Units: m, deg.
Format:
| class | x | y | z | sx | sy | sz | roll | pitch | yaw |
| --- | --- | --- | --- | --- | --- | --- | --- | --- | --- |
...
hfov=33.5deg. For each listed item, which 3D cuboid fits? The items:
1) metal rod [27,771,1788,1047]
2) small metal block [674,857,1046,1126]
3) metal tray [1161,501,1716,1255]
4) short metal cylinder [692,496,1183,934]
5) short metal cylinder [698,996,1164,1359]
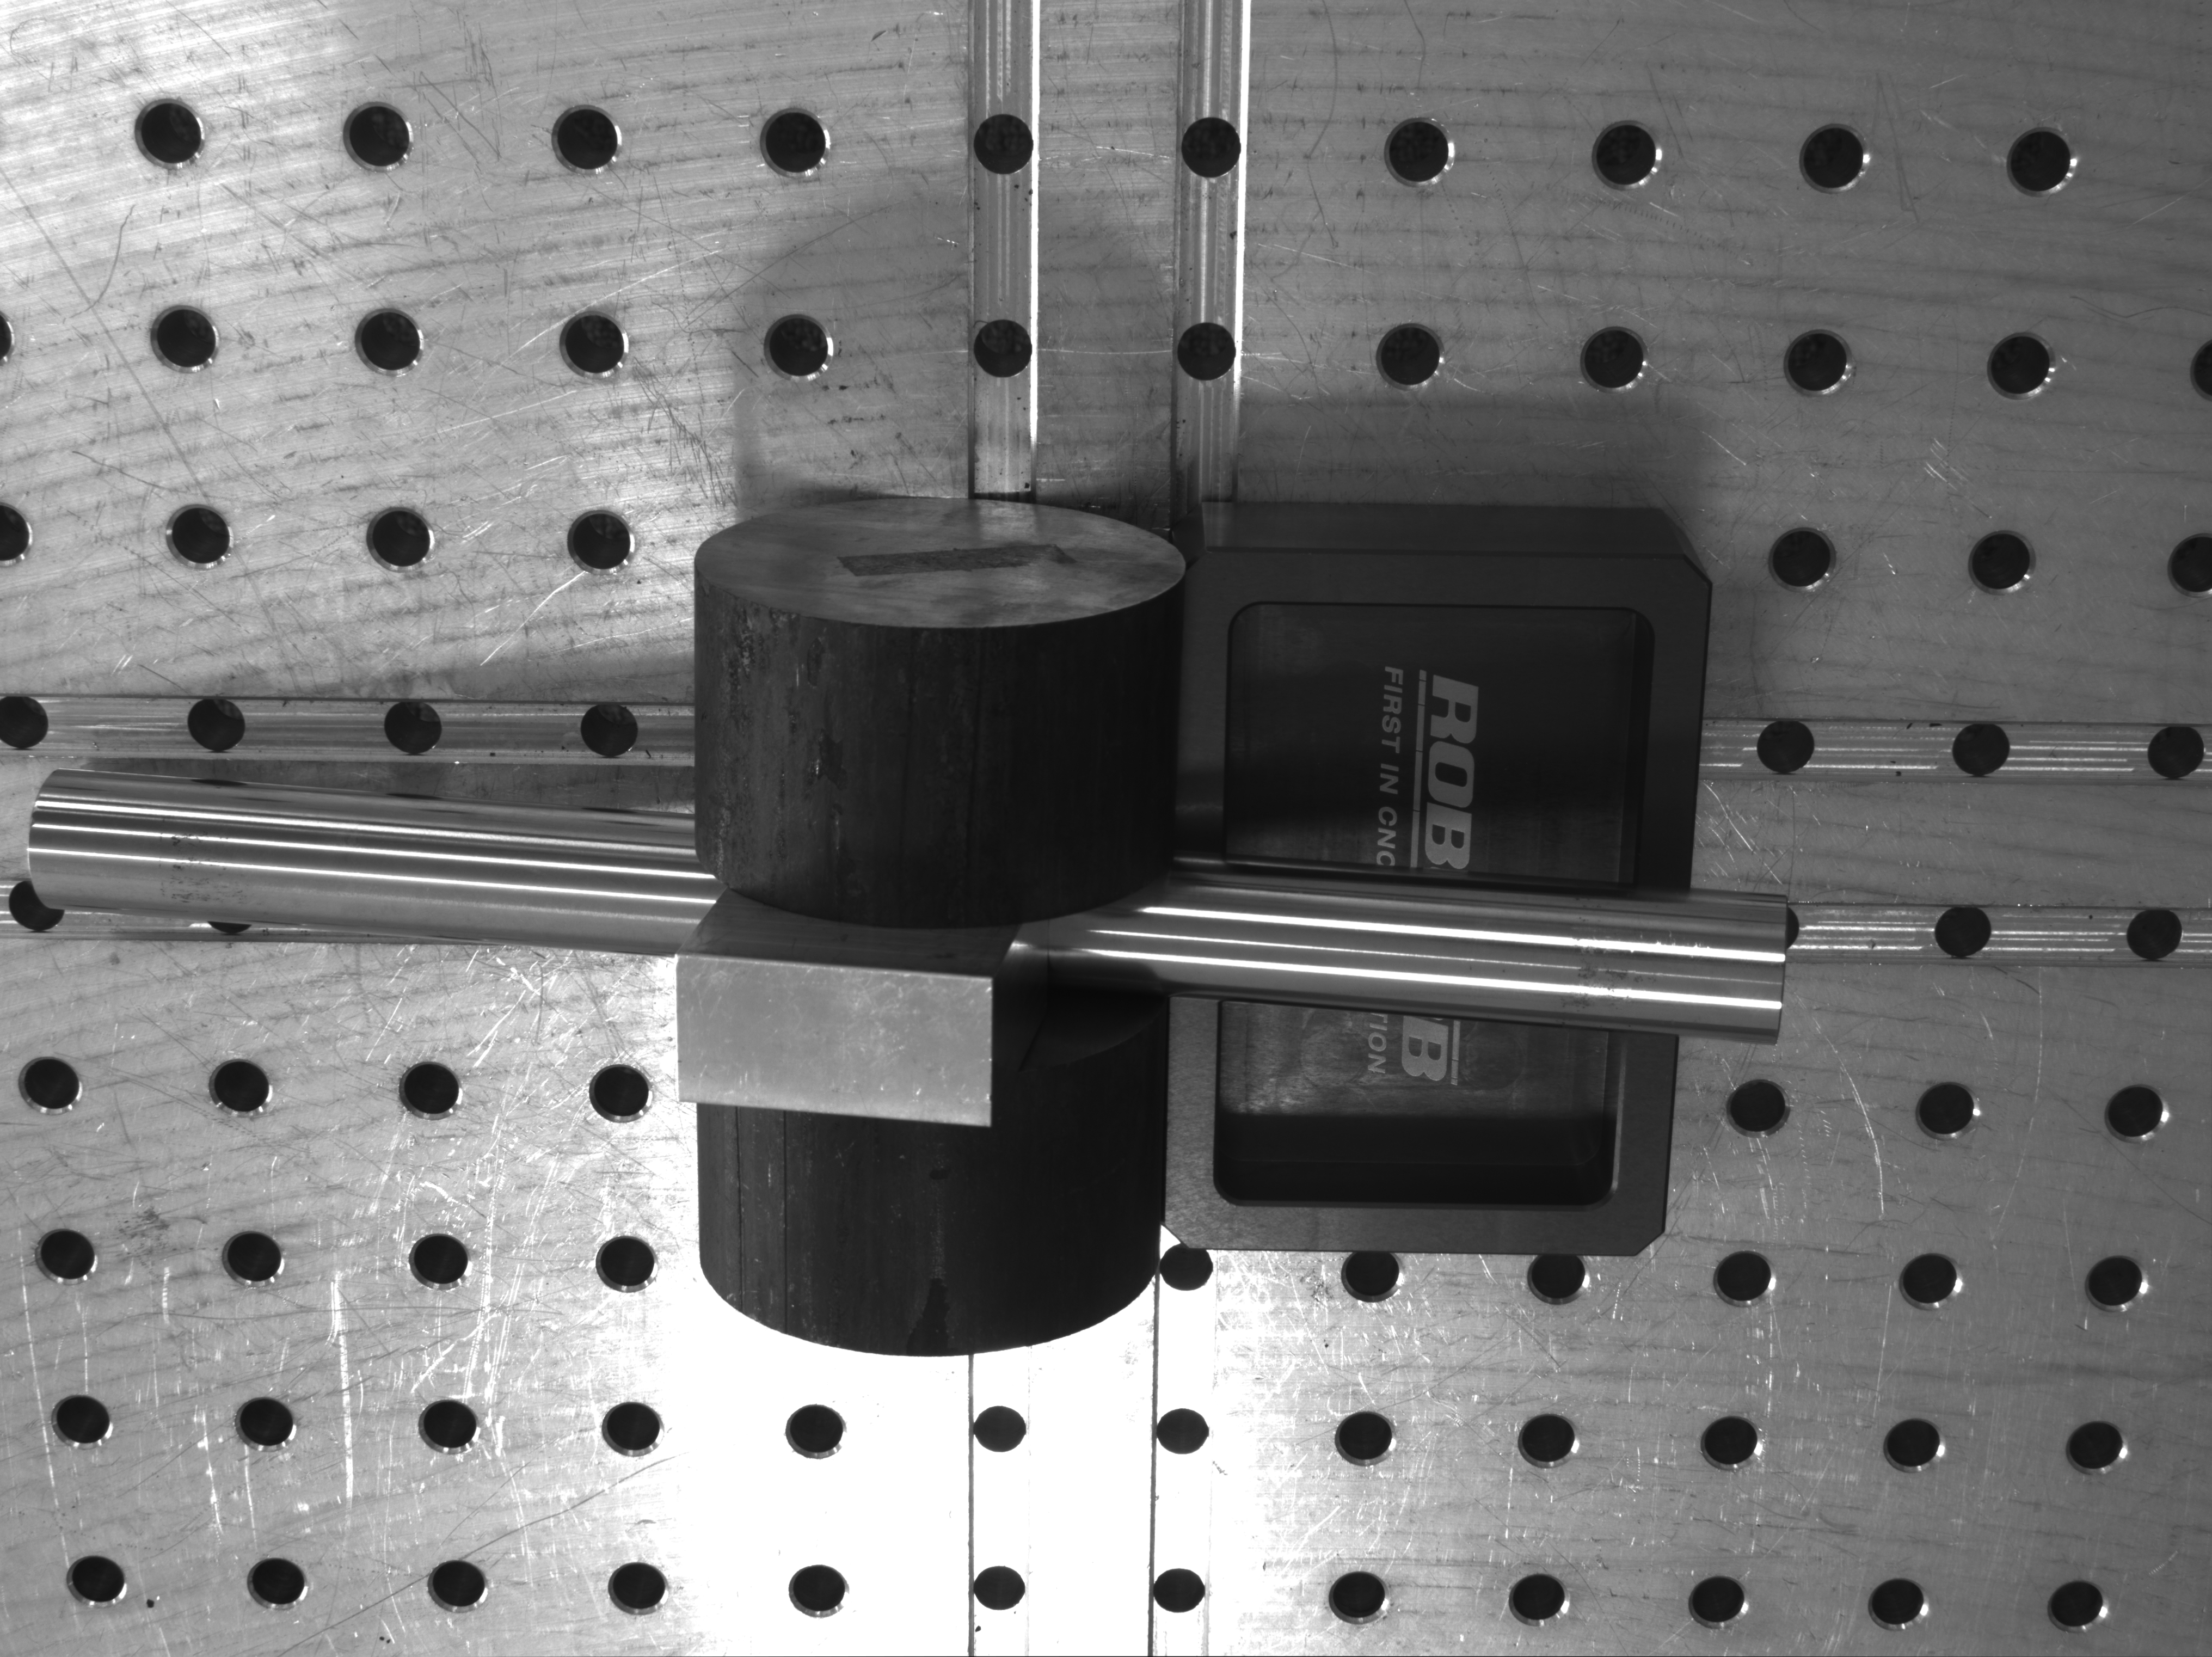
| class | x | y | z | sx | sy | sz | roll | pitch | yaw |
| --- | --- | --- | --- | --- | --- | --- | --- | --- | --- |
| metal rod | -0.037 | 0.013 | 0.627 | 0.300 | 0.025 | 0.025 | 4 | 110 | 8 |
| small metal block | -0.038 | 0.024 | 0.592 | 0.050 | 0.050 | 0.025 | 4 | 110 | 8 |
| metal tray | 0.056 | 0.010 | 0.647 | 0.090 | 0.030 | 0.130 | 1 | 110 | 0 |
| short metal cylinder | -0.028 | -0.020 | 0.608 | 0.080 | 0.080 | 0.050 | 1 | 110 | 0 |
| short metal cylinder | -0.030 | 0.050 | 0.635 | 0.080 | 0.080 | 0.050 | 1 | 110 | 0 |
